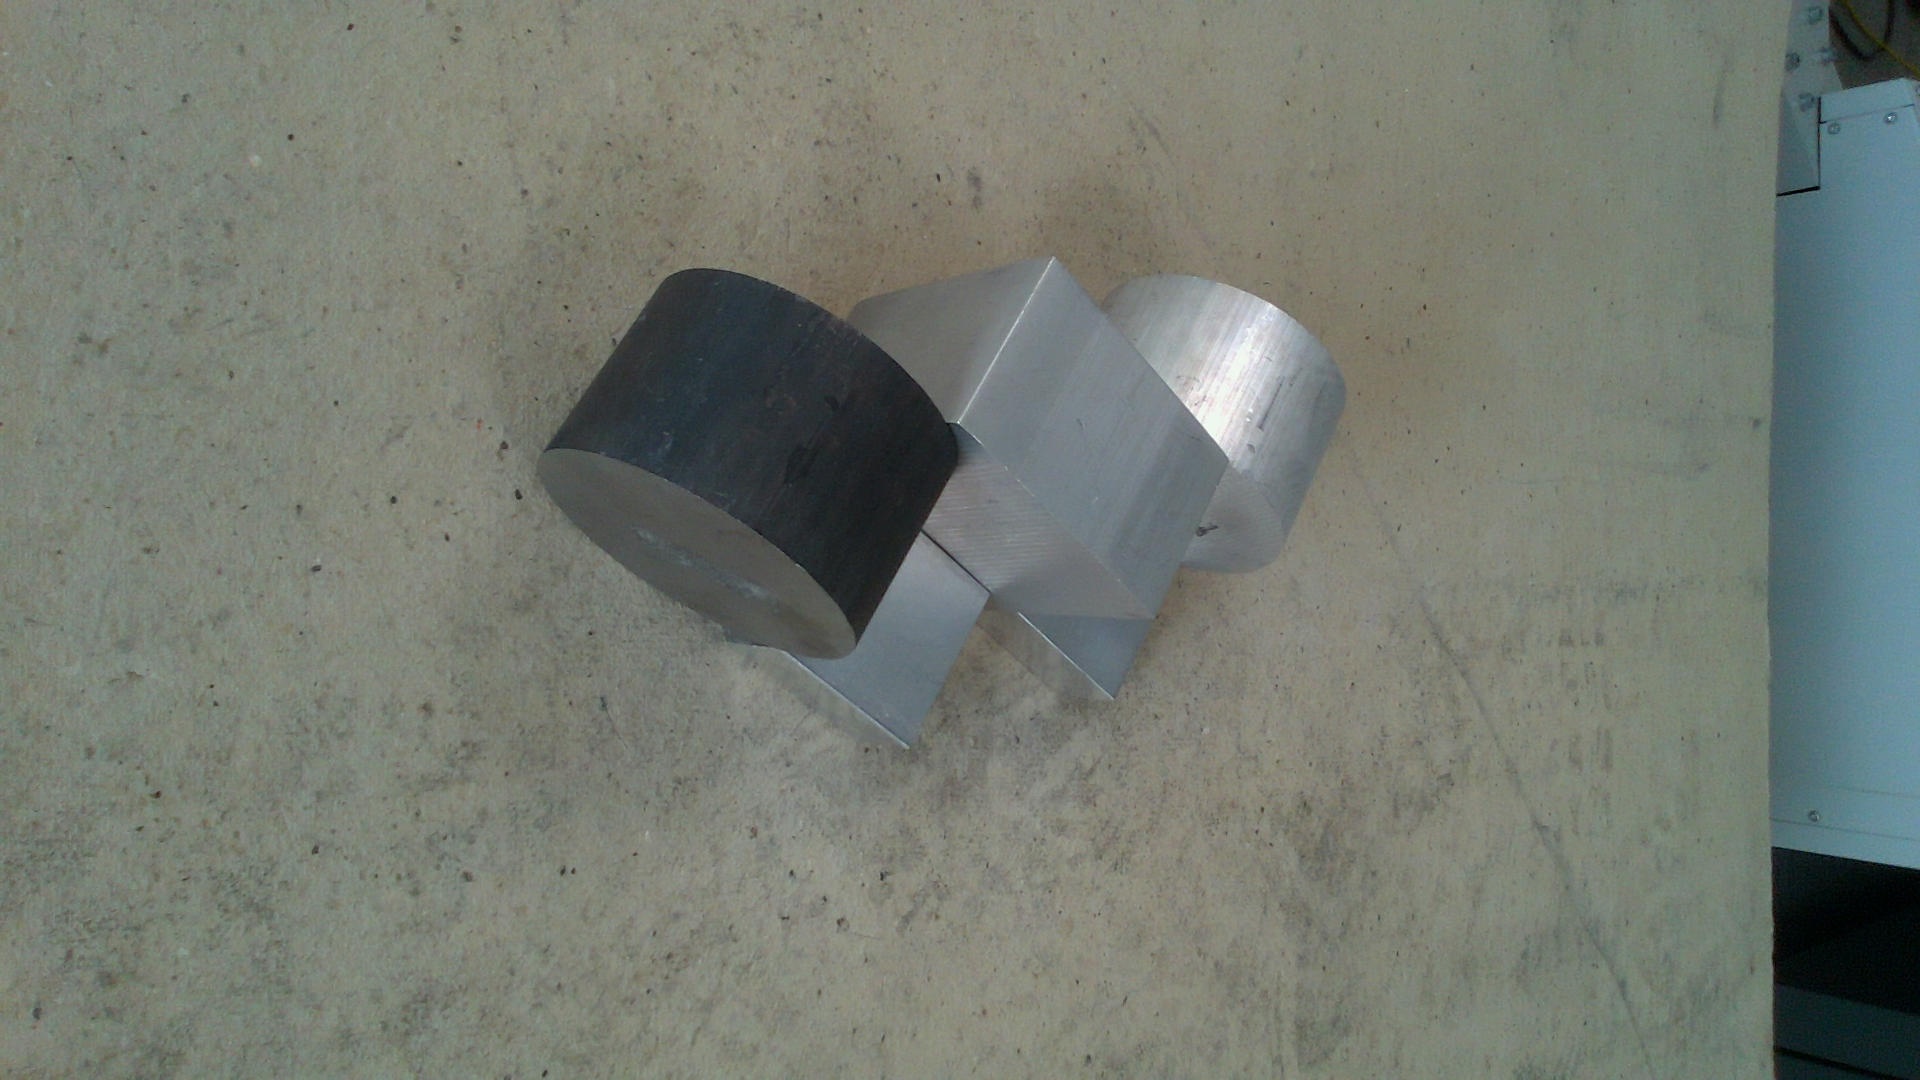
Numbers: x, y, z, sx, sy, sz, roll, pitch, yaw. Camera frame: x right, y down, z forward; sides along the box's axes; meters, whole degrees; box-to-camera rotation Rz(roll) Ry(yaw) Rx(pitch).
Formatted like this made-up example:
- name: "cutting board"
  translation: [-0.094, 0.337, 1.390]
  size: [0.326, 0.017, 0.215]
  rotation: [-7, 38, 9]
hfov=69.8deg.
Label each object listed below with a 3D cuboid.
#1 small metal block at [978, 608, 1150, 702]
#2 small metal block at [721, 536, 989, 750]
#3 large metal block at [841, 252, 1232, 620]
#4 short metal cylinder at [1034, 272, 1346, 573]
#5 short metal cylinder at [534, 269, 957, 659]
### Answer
- name: "small metal block"
  translation: [0.034, 0.014, 0.418]
  size: [0.050, 0.025, 0.050]
  rotation: [43, 64, -32]
- name: "small metal block"
  translation: [-0.027, 0.021, 0.368]
  size: [0.050, 0.025, 0.050]
  rotation: [43, 64, -32]
- name: "large metal block"
  translation: [0.010, -0.024, 0.362]
  size: [0.080, 0.080, 0.050]
  rotation: [42, 64, -32]
- name: "short metal cylinder"
  translation: [0.067, -0.033, 0.409]
  size: [0.080, 0.080, 0.050]
  rotation: [43, 64, -31]
- name: "short metal cylinder"
  translation: [-0.048, -0.015, 0.314]
  size: [0.080, 0.080, 0.050]
  rotation: [42, 64, -32]
